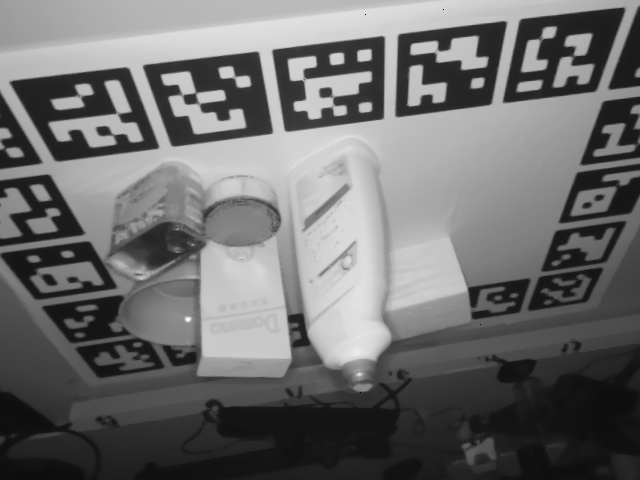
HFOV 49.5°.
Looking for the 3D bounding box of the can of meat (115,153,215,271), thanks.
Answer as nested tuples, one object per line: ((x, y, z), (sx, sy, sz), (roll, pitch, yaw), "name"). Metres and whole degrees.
((-0.158, -0.029, 0.710), (0.101, 0.084, 0.058), (-26, 140, 21), "can of meat")

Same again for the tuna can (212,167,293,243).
((-0.074, -0.037, 0.747), (0.086, 0.034, 0.085), (-6, 137, -5), "tuna can")

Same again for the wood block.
((0.094, 0.080, 0.888), (0.206, 0.090, 0.090), (-13, 136, 4), "wood block")

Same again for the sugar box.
((-0.085, 0.058, 0.747), (0.094, 0.177, 0.044), (5, 136, -22), "sugar box")

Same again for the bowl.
((-0.167, 0.072, 0.845), (0.162, 0.055, 0.160), (-9, 141, -7), "bowl")

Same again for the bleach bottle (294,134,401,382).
((0.037, 0.015, 0.668), (0.102, 0.252, 0.068), (-24, 139, 17), "bleach bottle")
